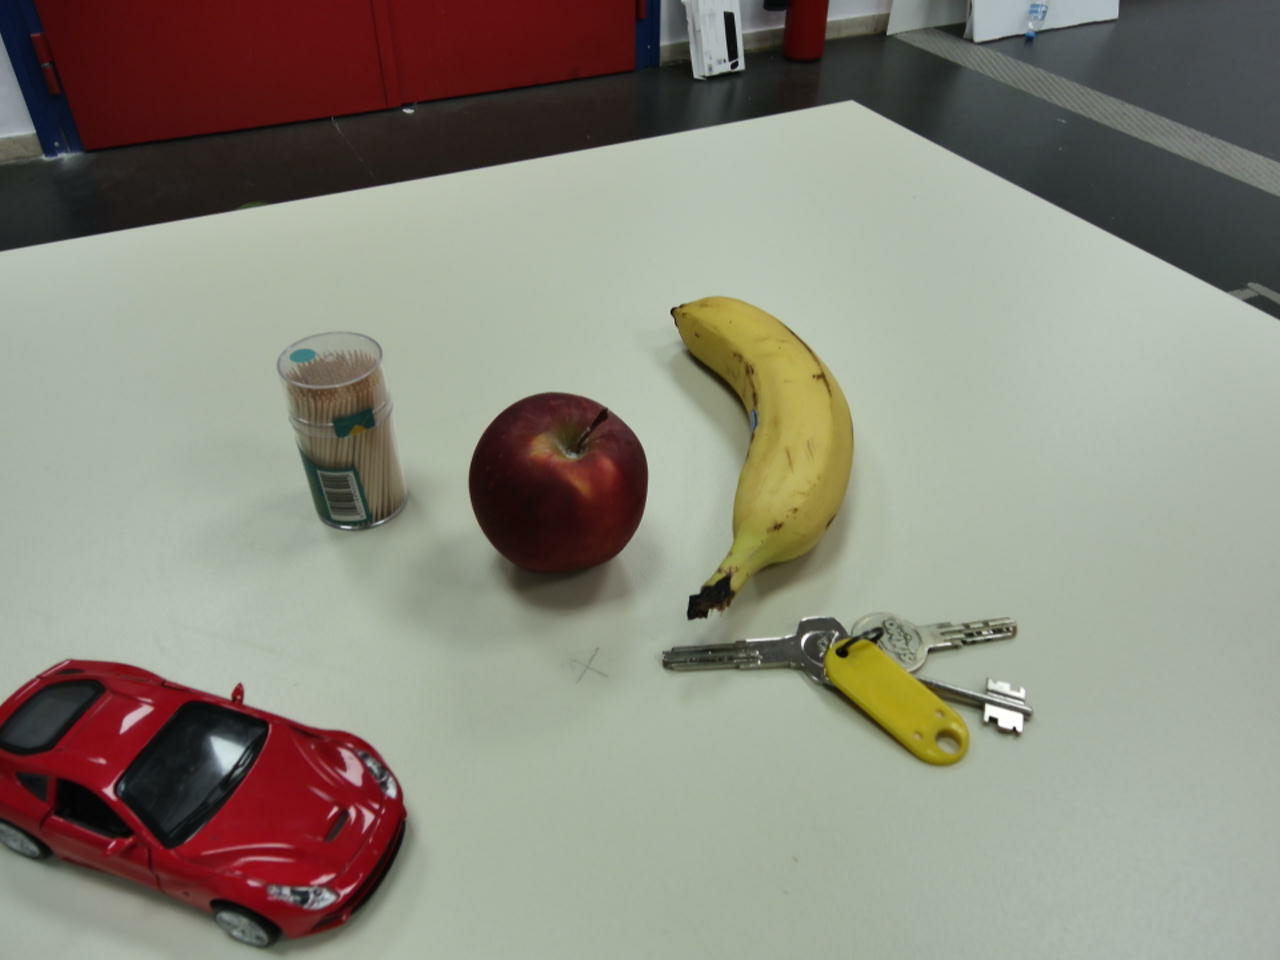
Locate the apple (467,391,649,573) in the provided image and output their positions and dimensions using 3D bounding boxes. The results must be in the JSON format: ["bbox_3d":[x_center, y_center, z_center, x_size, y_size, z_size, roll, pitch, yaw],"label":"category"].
[{"bbox_3d":[-0.031,0.002,0.386,0.070,0.072,0.070,0,38,0],"label":"apple"}]
